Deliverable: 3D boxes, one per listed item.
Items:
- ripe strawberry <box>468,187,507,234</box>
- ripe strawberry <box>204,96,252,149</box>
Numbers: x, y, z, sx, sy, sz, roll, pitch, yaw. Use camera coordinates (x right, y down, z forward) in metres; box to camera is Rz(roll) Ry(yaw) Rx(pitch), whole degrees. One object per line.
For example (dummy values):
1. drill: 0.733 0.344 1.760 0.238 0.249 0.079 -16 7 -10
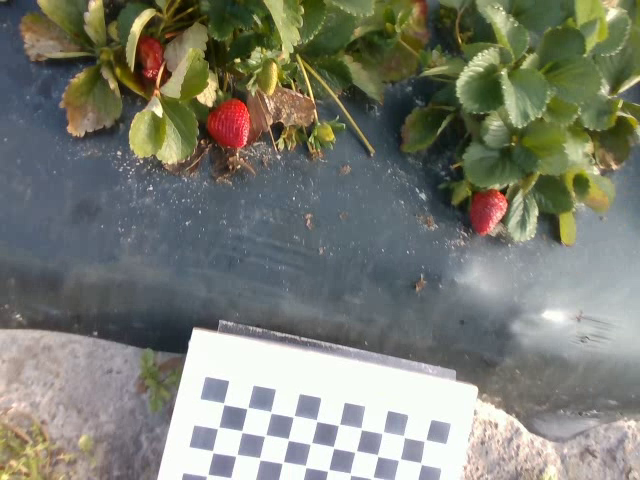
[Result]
1. ripe strawberry: 0.110 -0.016 0.389 0.029 0.036 0.021 15 -12 -6
2. ripe strawberry: -0.053 -0.066 0.349 0.032 0.030 0.025 -24 -16 -12
